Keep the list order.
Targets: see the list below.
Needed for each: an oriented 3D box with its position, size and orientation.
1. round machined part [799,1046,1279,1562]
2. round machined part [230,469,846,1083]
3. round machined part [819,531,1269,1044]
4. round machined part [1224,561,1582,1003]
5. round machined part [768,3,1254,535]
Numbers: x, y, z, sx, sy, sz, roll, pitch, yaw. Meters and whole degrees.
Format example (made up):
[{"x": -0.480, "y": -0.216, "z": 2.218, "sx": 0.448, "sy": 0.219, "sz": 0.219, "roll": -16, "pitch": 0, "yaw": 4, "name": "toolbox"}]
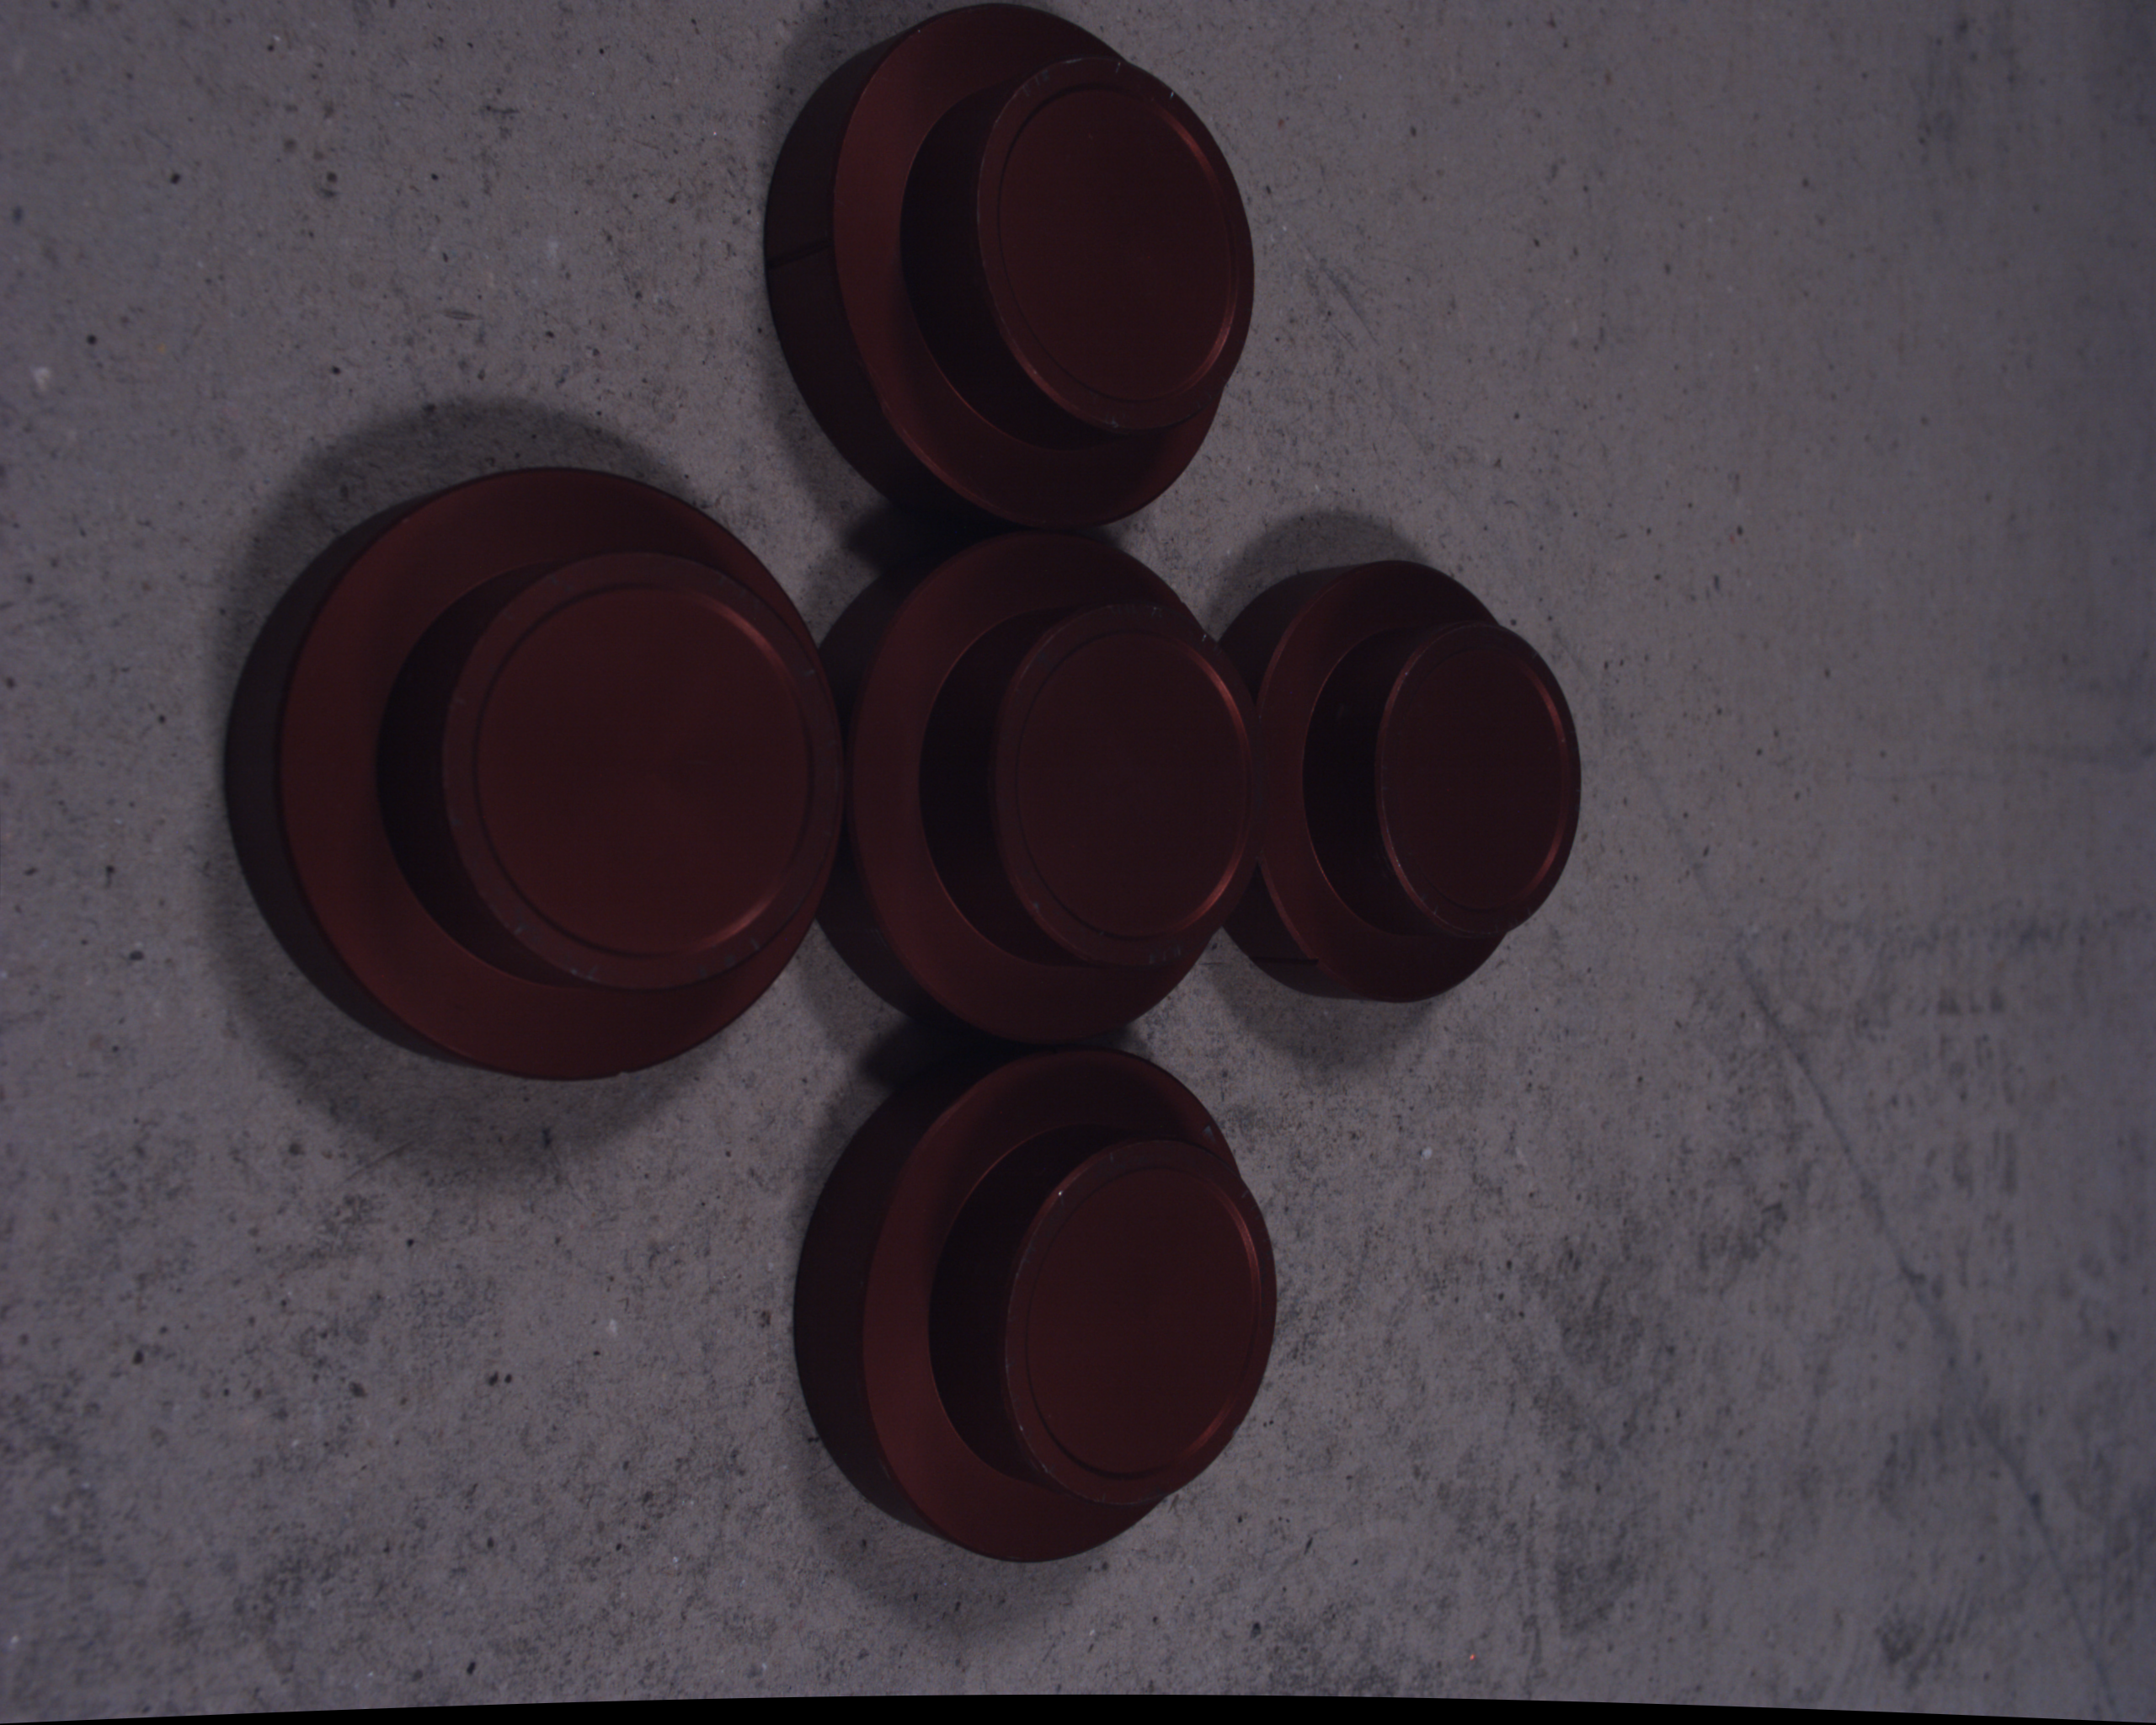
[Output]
[{"x": 0.000, "y": 0.084, "z": 0.397, "sx": 0.099, "sy": 0.042, "sz": 0.097, "roll": 0, "pitch": 90, "yaw": -40, "name": "round machined part"}, {"x": -0.078, "y": -0.014, "z": 0.332, "sx": 0.099, "sy": 0.042, "sz": 0.097, "roll": 0, "pitch": 90, "yaw": -40, "name": "round machined part"}, {"x": -0.002, "y": -0.014, "z": 0.395, "sx": 0.099, "sy": 0.042, "sz": 0.097, "roll": 0, "pitch": 90, "yaw": -40, "name": "round machined part"}, {"x": 0.074, "y": -0.018, "z": 0.459, "sx": 0.099, "sy": 0.042, "sz": 0.097, "roll": 0, "pitch": 90, "yaw": -40, "name": "round machined part"}, {"x": -0.005, "y": -0.112, "z": 0.393, "sx": 0.099, "sy": 0.042, "sz": 0.097, "roll": 0, "pitch": 90, "yaw": -40, "name": "round machined part"}]
